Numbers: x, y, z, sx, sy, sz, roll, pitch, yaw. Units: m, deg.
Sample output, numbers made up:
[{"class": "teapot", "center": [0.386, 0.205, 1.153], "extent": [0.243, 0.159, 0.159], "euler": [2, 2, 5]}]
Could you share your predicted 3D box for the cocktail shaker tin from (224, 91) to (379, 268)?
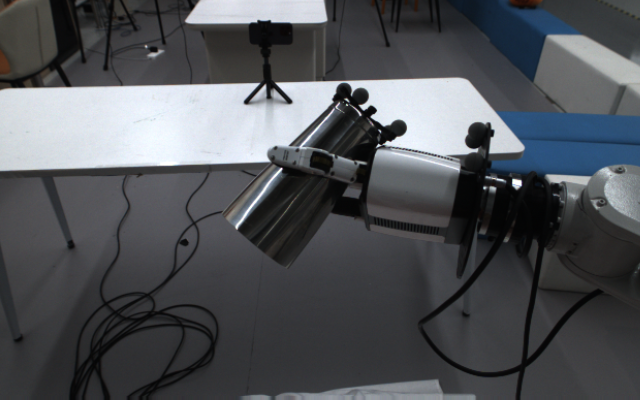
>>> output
[{"class": "cocktail shaker tin", "center": [-0.012, -0.024, 0.518], "extent": [0.170, 0.093, 0.093], "euler": [-48, 49, -4]}]
